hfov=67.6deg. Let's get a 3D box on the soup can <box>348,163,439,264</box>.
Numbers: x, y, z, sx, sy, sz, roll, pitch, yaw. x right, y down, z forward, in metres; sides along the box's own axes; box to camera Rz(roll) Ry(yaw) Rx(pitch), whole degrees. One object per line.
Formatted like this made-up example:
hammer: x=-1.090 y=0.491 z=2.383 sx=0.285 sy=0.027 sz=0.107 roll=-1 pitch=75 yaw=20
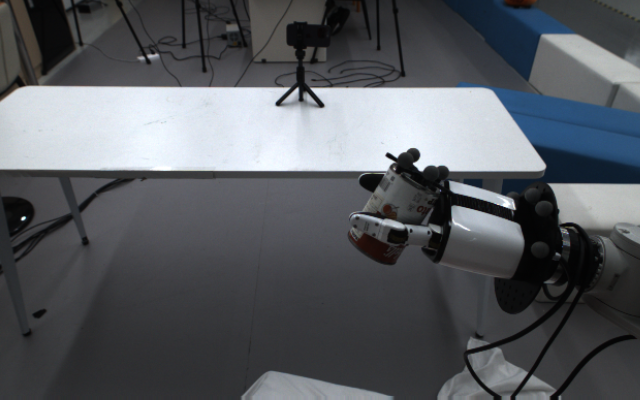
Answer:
soup can: x=0.088 y=0.016 z=0.568 sx=0.067 sy=0.101 sz=0.067 roll=27 pitch=18 yaw=-9
